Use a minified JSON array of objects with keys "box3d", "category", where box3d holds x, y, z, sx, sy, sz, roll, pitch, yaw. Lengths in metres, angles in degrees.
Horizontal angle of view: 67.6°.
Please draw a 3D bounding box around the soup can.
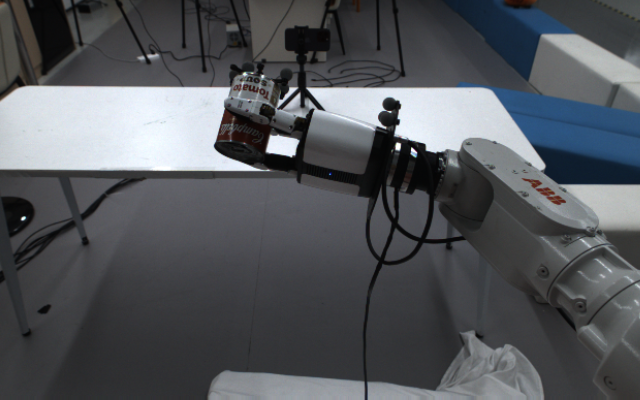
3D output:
[{"box3d":[-0.095,-0.109,0.644,0.067,0.067,0.101,9,74,9],"category":"soup can"}]
